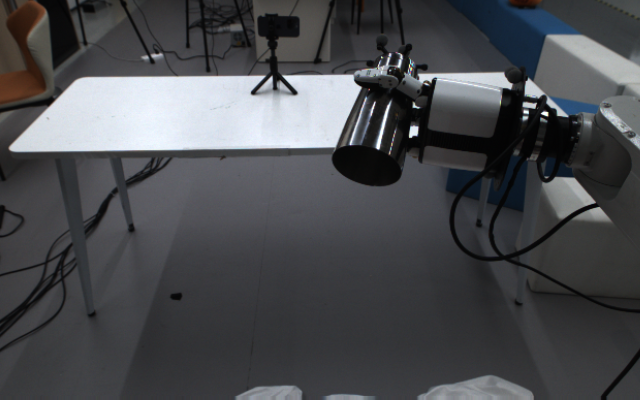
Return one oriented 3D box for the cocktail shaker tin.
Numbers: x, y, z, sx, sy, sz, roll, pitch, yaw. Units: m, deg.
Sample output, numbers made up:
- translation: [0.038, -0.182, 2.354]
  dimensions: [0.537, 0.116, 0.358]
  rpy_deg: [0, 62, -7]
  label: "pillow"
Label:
- translation: [0.083, -0.114, 0.649]
  dimensions: [0.093, 0.093, 0.170]
  rpy_deg: [12, 63, 14]
  label: "cocktail shaker tin"
